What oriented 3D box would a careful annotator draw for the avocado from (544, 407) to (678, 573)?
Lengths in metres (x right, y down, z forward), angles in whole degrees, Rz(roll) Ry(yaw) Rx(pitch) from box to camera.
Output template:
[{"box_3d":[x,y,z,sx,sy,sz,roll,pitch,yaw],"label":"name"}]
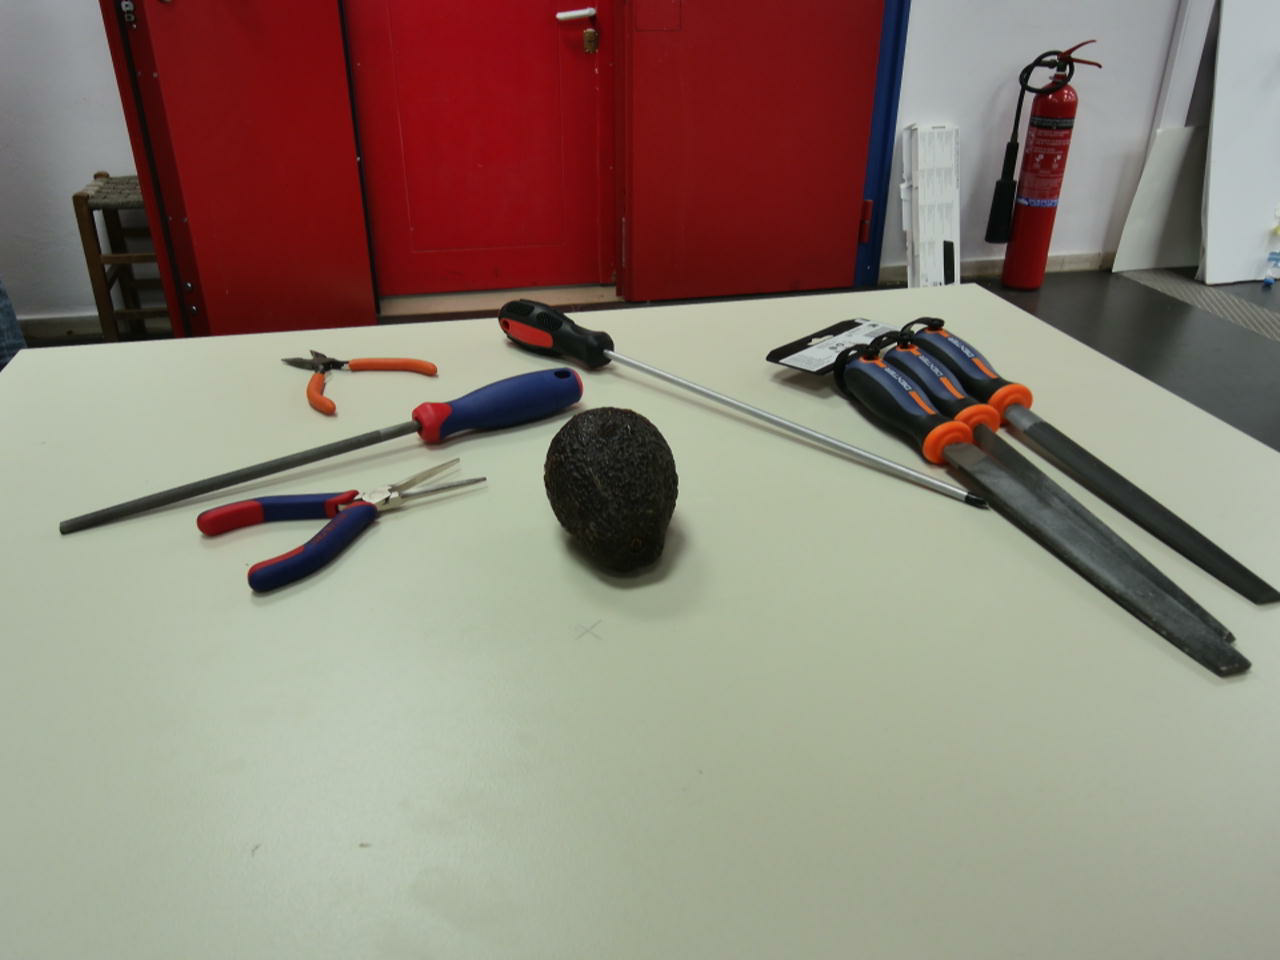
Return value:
[{"box_3d":[-0.016,0.001,0.510,0.070,0.069,0.090,5,26,11],"label":"avocado"}]
